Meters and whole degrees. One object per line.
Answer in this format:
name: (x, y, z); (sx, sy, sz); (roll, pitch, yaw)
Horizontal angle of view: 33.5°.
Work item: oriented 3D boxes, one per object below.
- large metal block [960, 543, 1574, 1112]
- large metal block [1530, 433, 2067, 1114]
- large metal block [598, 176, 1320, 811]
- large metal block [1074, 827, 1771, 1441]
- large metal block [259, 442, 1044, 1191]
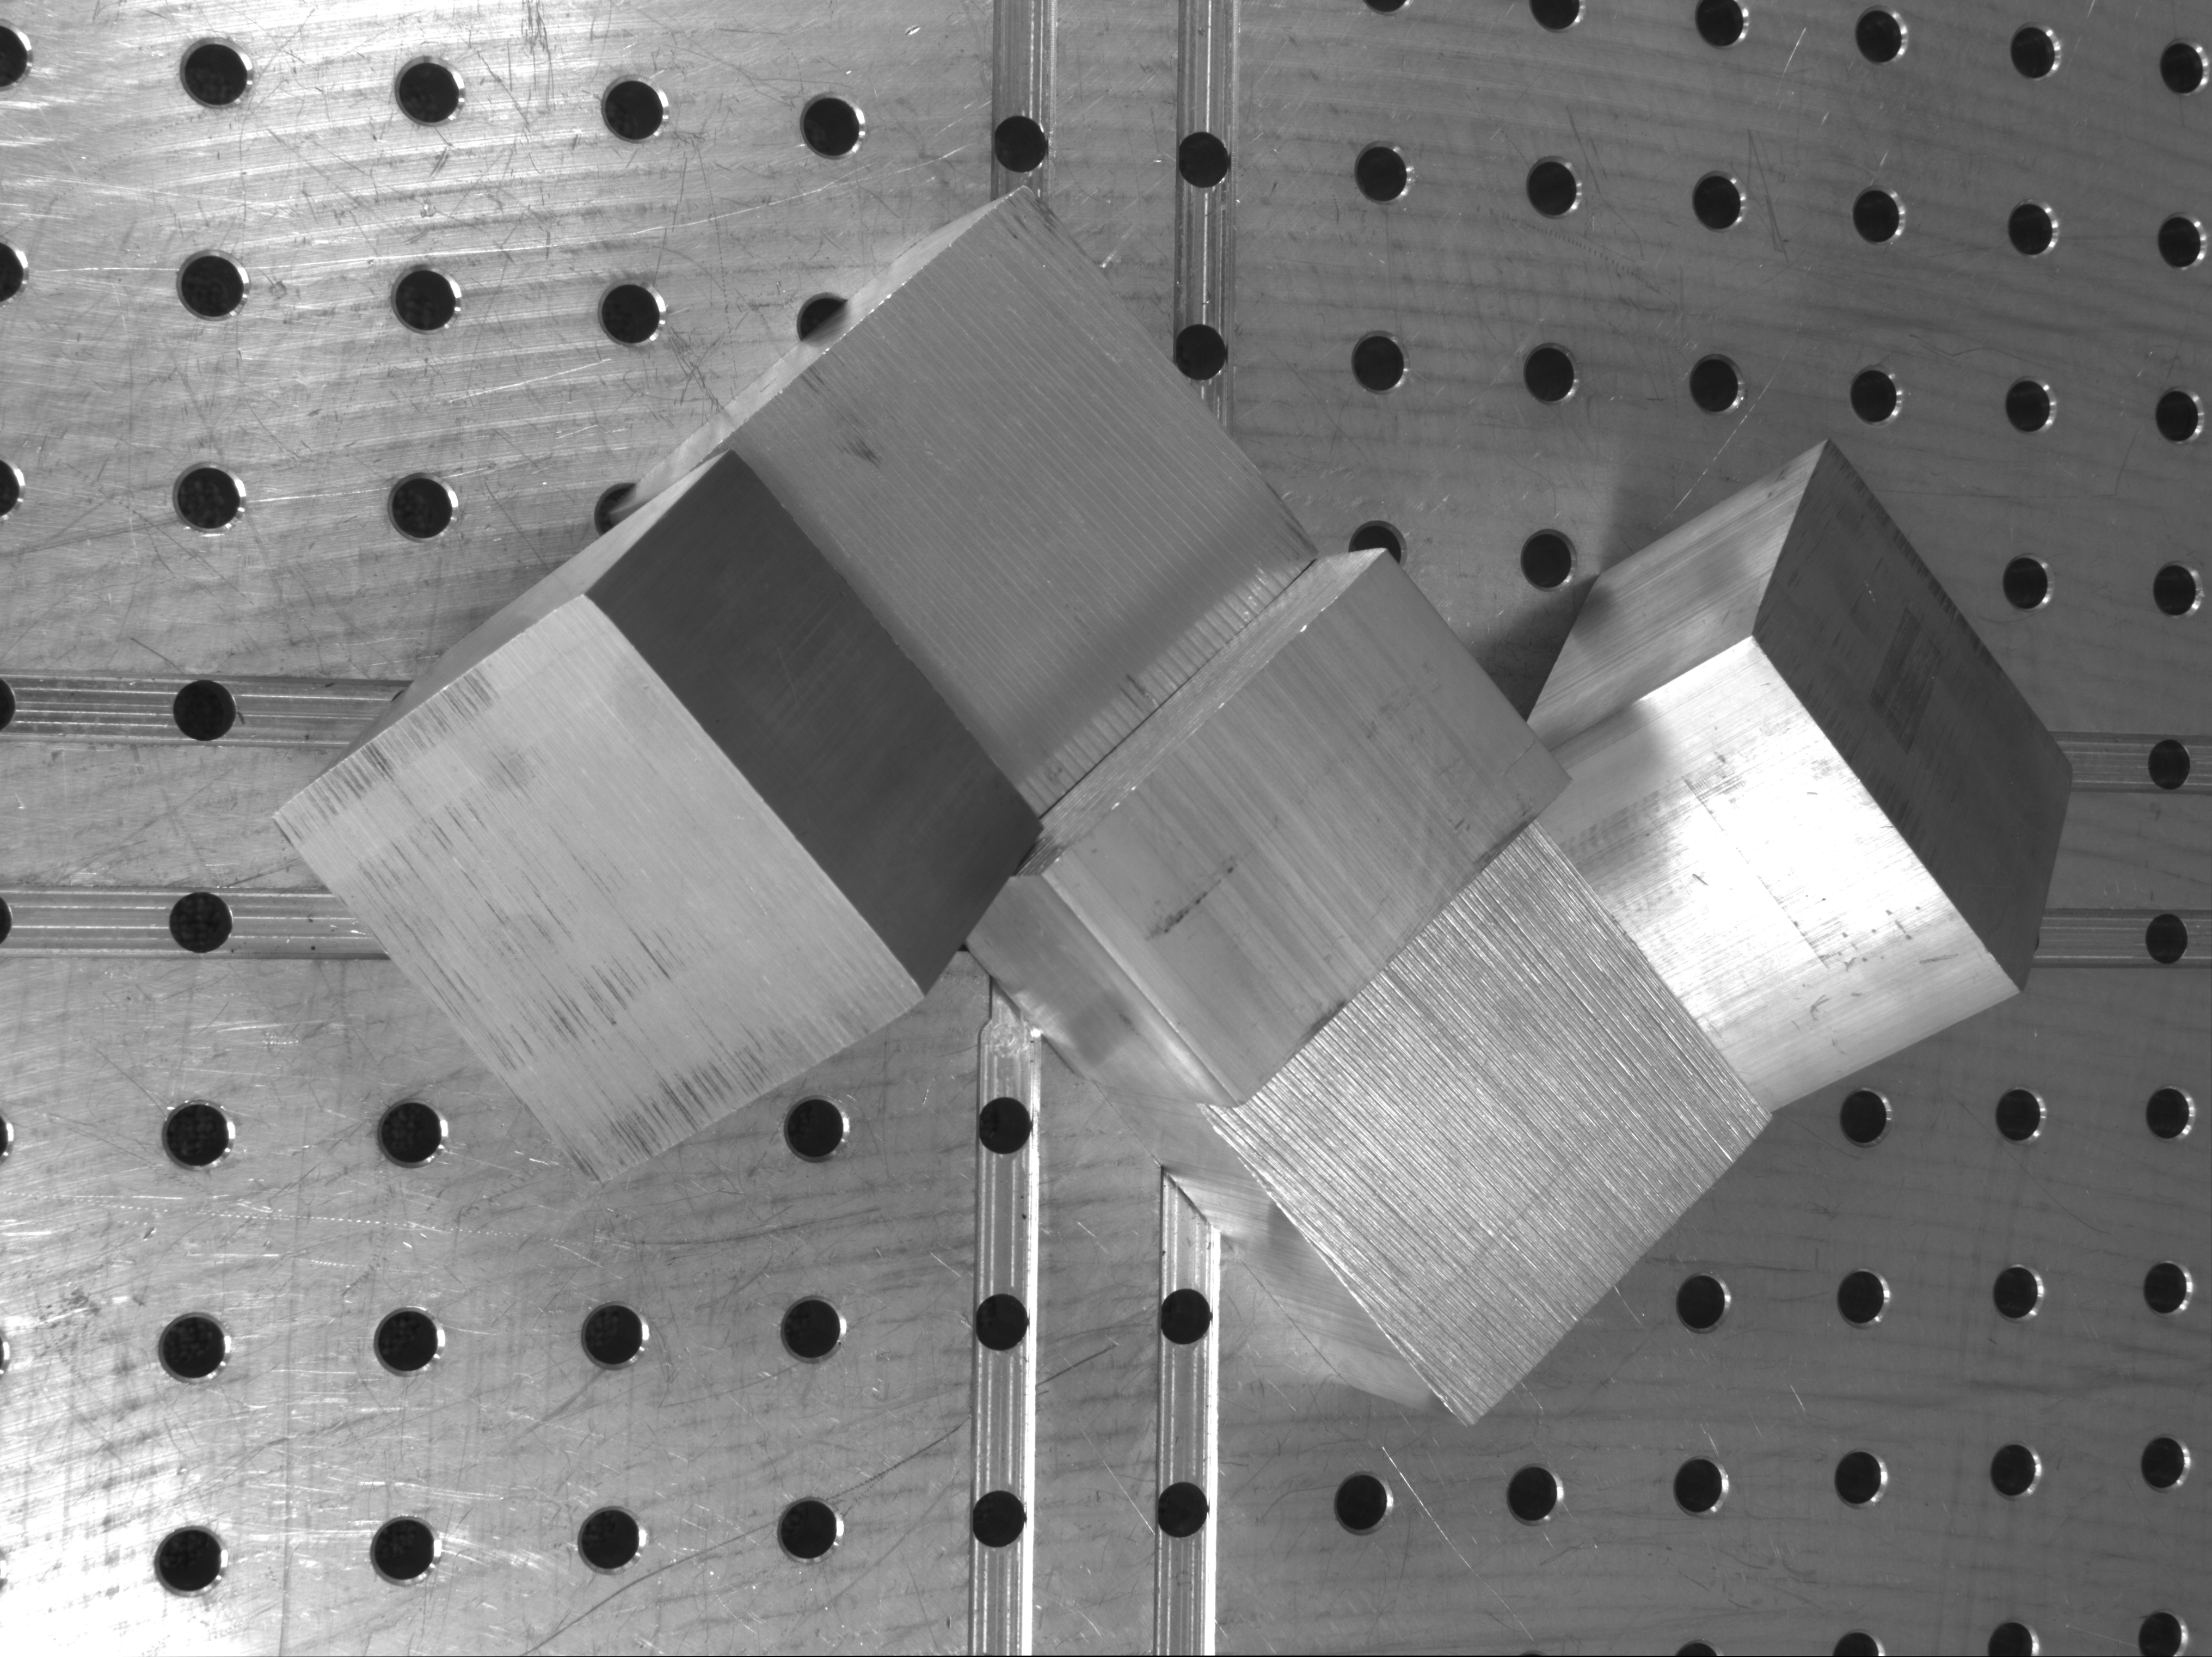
large metal block: (0.019, -0.001, 0.623); (0.080, 0.080, 0.050); (-44, 105, -15)
large metal block: (0.123, -0.011, 0.655); (0.080, 0.050, 0.080); (51, 35, -13)
large metal block: (-0.025, -0.051, 0.623); (0.080, 0.050, 0.080); (-43, 104, -13)
large metal block: (0.056, 0.049, 0.652); (0.080, 0.050, 0.080); (-43, 102, -15)
large metal block: (-0.072, -0.001, 0.583); (0.080, 0.080, 0.050); (51, 36, -13)
